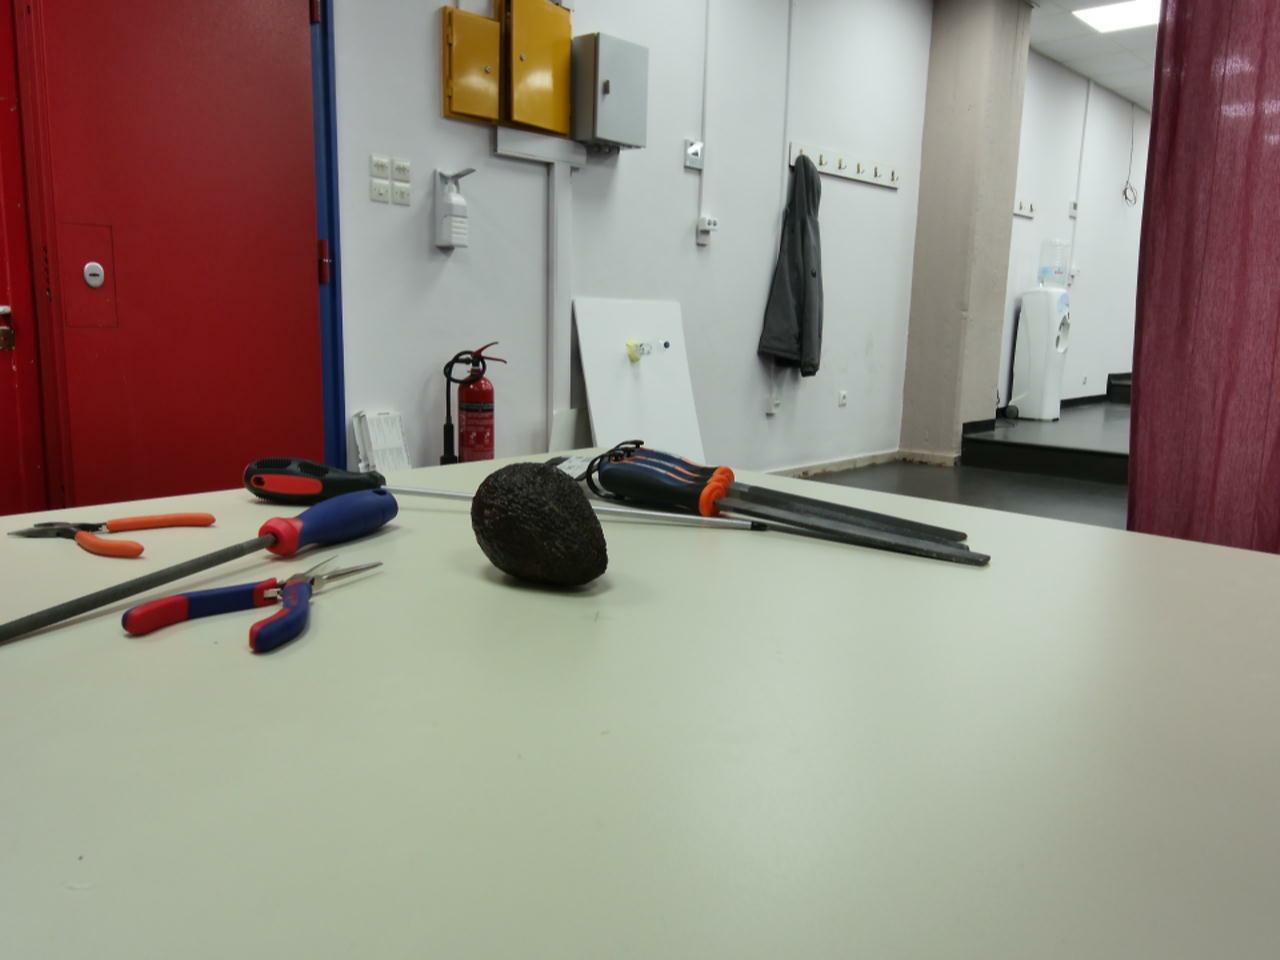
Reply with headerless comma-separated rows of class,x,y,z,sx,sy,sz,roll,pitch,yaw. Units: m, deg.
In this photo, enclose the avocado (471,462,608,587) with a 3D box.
avocado,-0.062,0.025,0.588,0.070,0.069,0.090,-2,8,-22
